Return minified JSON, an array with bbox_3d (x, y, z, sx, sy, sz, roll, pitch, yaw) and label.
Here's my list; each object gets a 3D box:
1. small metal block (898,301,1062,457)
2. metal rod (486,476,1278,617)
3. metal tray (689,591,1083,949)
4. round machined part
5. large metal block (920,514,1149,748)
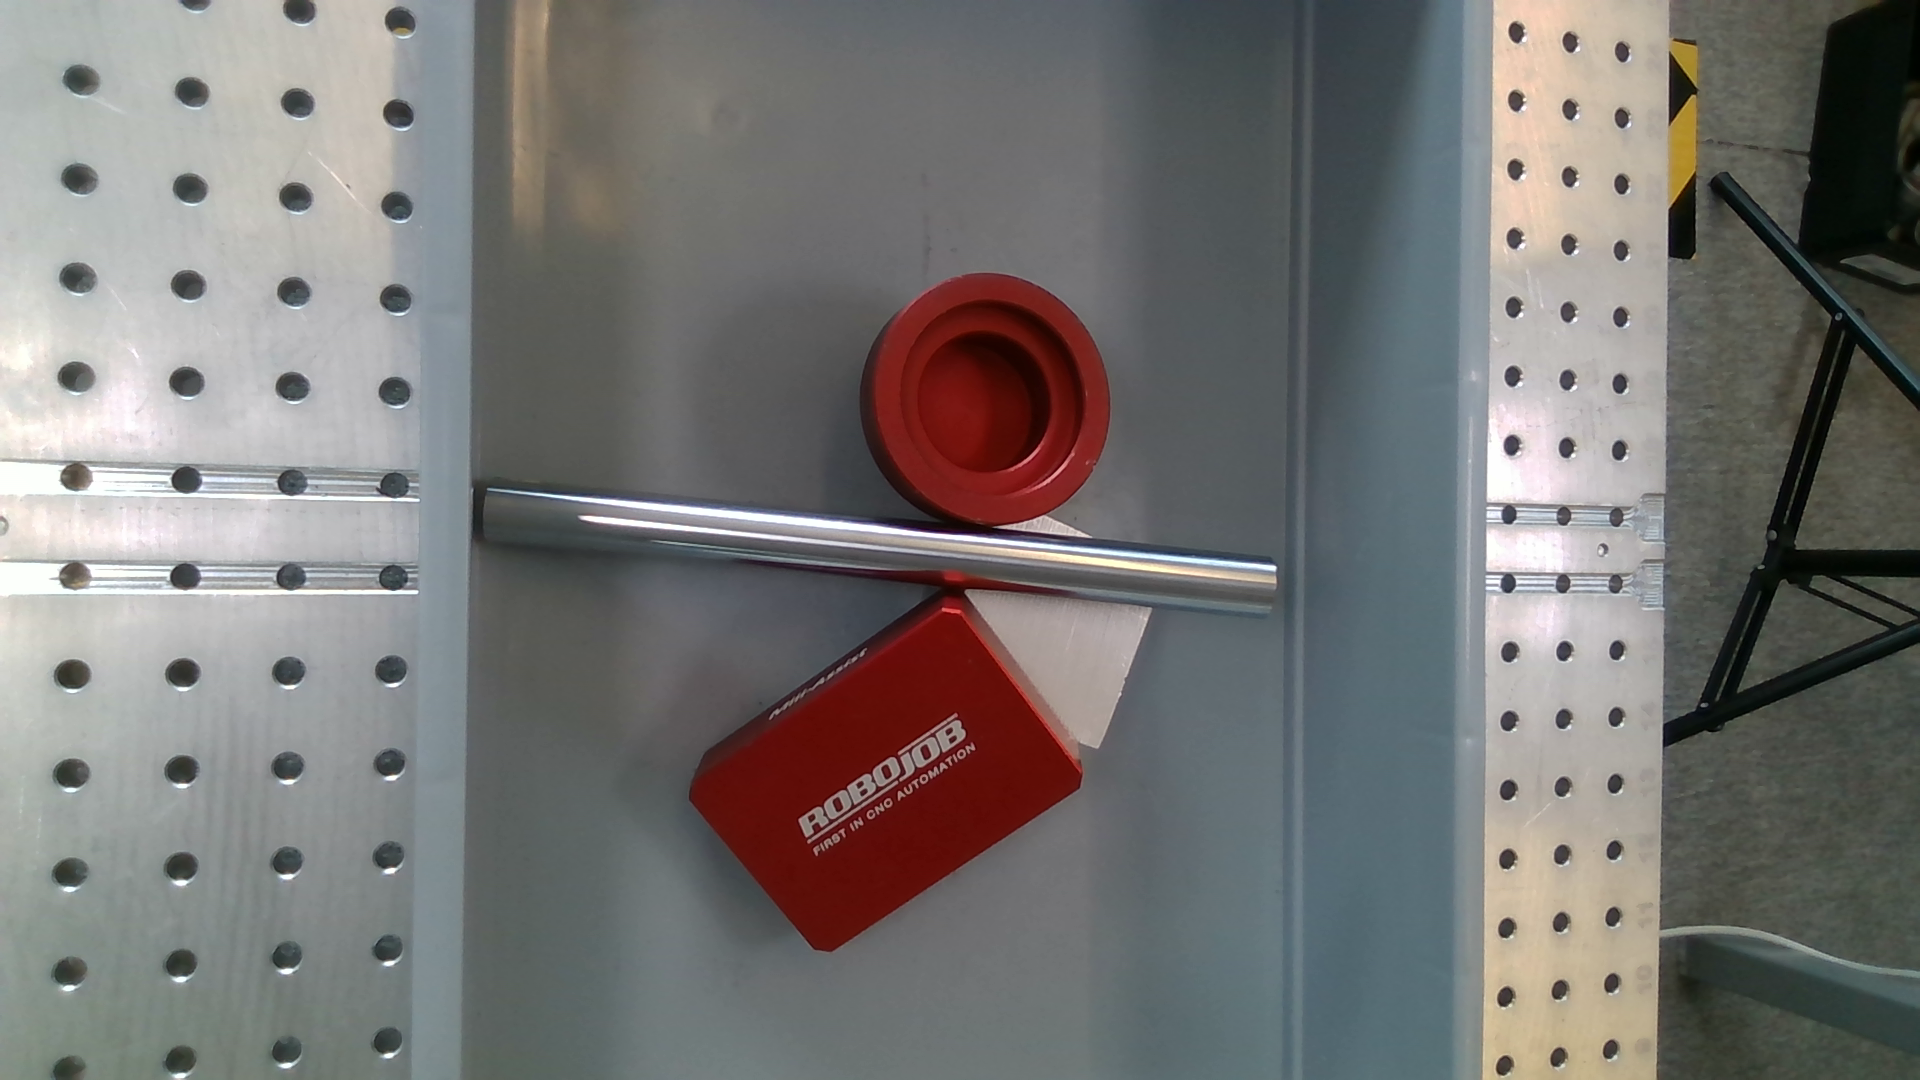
[{"bbox_3d":[0.009,-0.069,0.589,0.050,0.025,0.050,-24,98,-19],"label":"small metal block"},{"bbox_3d":[-0.027,0.003,0.533,0.300,0.025,0.025,6,88,-4],"label":"metal rod"},{"bbox_3d":[-0.029,0.091,0.545,0.130,0.030,0.090,-35,102,9],"label":"metal tray"},{"bbox_3d":[0.007,-0.054,0.549,0.098,0.042,0.098,1,87,-20],"label":"round machined part"},{"bbox_3d":[0.029,0.033,0.583,0.080,0.050,0.080,24,82,-19],"label":"large metal block"}]
